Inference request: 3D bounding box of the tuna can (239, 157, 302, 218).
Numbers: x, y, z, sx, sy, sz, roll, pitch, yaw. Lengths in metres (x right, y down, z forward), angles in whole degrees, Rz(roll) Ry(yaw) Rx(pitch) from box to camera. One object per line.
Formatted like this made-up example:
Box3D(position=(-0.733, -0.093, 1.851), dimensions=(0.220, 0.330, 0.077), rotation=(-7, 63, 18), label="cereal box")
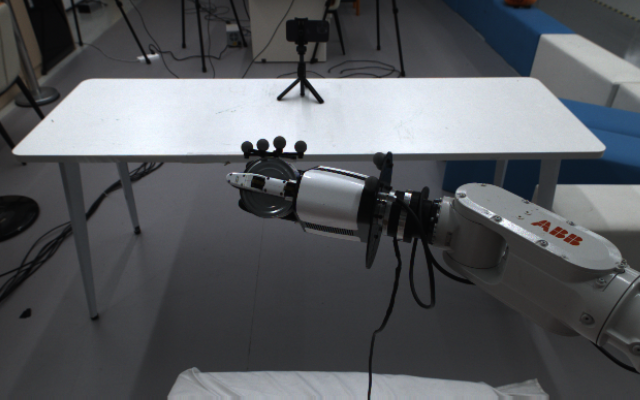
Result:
Box3D(position=(-0.068, -0.016, 0.682), dimensions=(0.085, 0.085, 0.034), rotation=(12, -1, 14), label="tuna can")
